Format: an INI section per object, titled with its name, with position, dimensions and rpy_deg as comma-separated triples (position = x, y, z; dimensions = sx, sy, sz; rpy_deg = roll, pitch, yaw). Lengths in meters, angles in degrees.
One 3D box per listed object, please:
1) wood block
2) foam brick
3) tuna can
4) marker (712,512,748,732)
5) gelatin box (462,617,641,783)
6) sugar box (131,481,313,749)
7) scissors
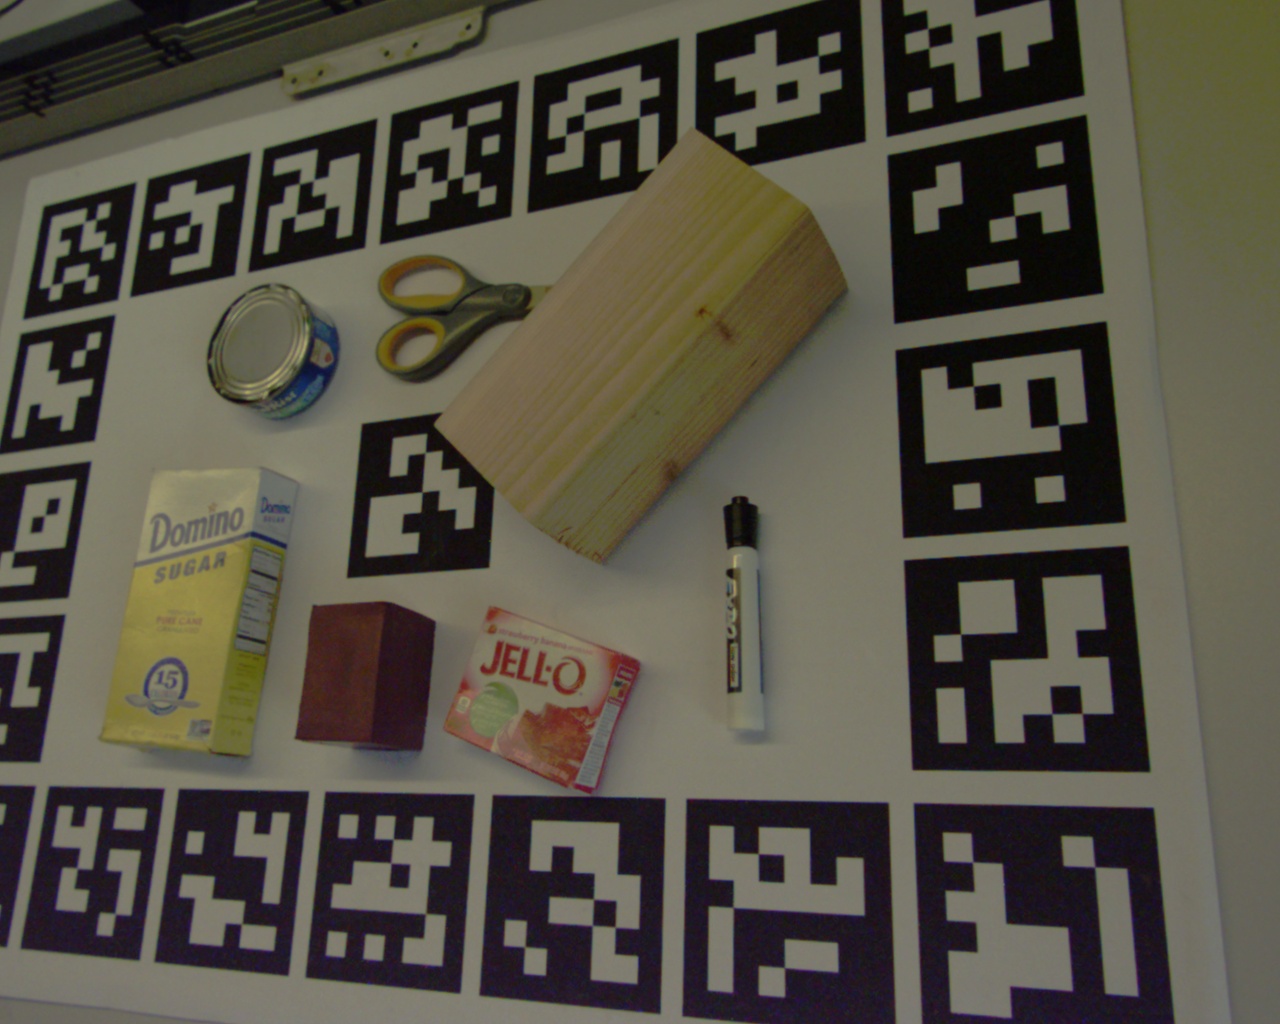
[wood block]
position = 0.005, -0.075, 0.652
dimensions = 0.206, 0.090, 0.091
rpy_deg = -49, 62, 5
[foam brick]
position = -0.154, 0.104, 0.691
dimensions = 0.053, 0.051, 0.078
rpy_deg = -4, 76, 24
[tuna can]
position = -0.254, -0.097, 0.802
dimensions = 0.086, 0.033, 0.086
rpy_deg = -6, 74, 23
[marker]
position = 0.050, 0.060, 0.630
dimensions = 0.020, 0.019, 0.121
rpy_deg = -4, 77, 23
[gelatin box]
position = -0.052, 0.107, 0.660
dimensions = 0.090, 0.030, 0.073
rpy_deg = 15, 84, 27
[sugar box]
position = -0.280, 0.069, 0.768
dimensions = 0.094, 0.045, 0.176
rpy_deg = -1, 76, 24
[scissors]
position = -0.089, -0.118, 0.745
dimensions = 0.205, 0.015, 0.088
rpy_deg = 2, 77, 27
